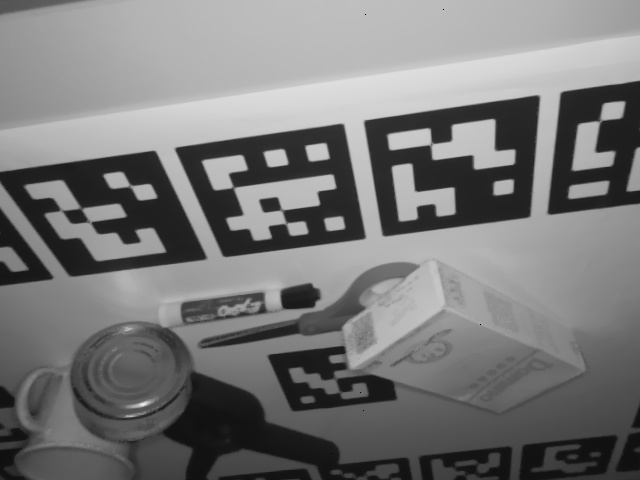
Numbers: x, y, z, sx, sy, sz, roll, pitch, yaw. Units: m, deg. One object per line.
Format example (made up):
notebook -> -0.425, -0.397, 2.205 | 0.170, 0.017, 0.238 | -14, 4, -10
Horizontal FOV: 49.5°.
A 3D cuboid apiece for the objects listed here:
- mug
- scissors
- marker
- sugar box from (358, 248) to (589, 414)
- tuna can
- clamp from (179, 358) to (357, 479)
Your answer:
mug -> -0.180, 0.148, 0.586 | 0.092, 0.082, 0.118 | -30, 130, 24
scissors -> 0.014, 0.068, 0.554 | 0.201, 0.016, 0.087 | -16, 135, 14
marker -> -0.039, 0.043, 0.533 | 0.120, 0.020, 0.019 | -11, 131, 8
sugar box -> 0.124, 0.079, 0.547 | 0.178, 0.045, 0.091 | 29, 126, -33
tuna can -> -0.132, 0.105, 0.541 | 0.086, 0.086, 0.033 | 4, 133, -5
clamp -> -0.074, 0.179, 0.660 | 0.164, 0.037, 0.202 | -17, 130, 13
